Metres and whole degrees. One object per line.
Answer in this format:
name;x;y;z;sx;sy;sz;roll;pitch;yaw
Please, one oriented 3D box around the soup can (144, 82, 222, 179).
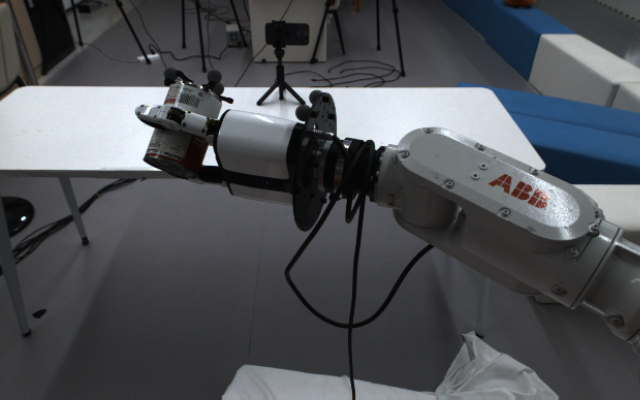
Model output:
soup can;-0.167;-0.084;0.595;0.067;0.067;0.101;12;77;15
